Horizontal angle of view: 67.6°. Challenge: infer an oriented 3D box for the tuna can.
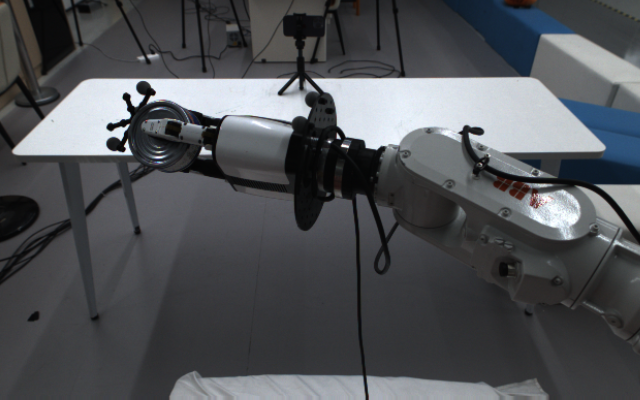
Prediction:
[{"bbox_3d":[-0.187,-0.075,0.595,0.085,0.085,0.034,8,-2,8],"label":"tuna can"}]
